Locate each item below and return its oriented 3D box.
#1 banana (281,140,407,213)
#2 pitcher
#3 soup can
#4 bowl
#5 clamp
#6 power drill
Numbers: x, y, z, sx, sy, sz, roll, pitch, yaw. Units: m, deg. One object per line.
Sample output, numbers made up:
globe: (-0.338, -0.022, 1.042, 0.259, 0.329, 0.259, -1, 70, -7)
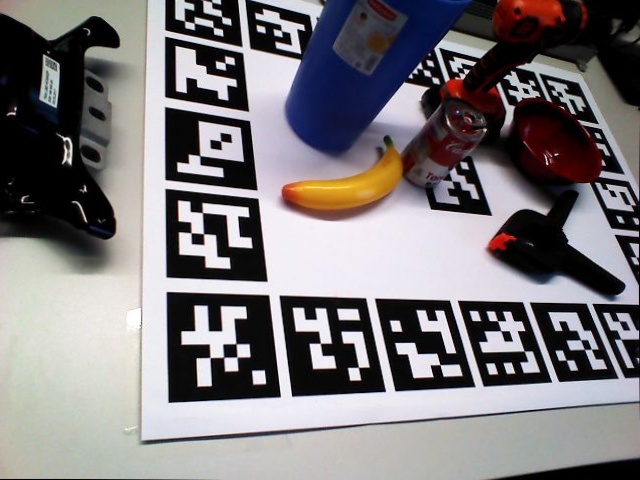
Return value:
banana: (0.042, -0.068, 0.605, 0.196, 0.039, 0.074, -24, 66, -35)
pitcher: (0.067, -0.216, 0.572, 0.187, 0.244, 0.133, -23, 71, -34)
soup can: (0.160, -0.123, 0.651, 0.068, 0.103, 0.067, 13, 49, -16)
bowl: (0.352, -0.138, 0.777, 0.161, 0.055, 0.161, 11, 60, -19)
clamp: (0.322, 0.000, 0.686, 0.202, 0.037, 0.164, 0, 66, -25)
power drill: (0.275, -0.233, 0.690, 0.184, 0.188, 0.057, -2, 63, -27)
